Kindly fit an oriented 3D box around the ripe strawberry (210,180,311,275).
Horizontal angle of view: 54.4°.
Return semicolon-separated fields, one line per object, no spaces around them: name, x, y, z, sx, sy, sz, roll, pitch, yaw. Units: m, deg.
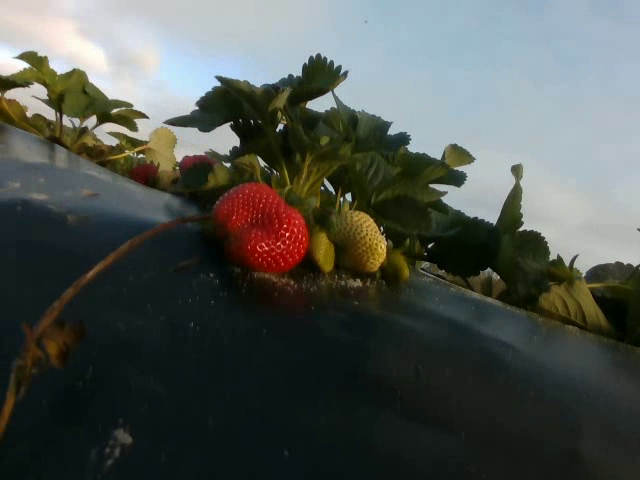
ripe strawberry;-0.030;-0.011;0.296;0.047;0.035;0.050;19;24;25
